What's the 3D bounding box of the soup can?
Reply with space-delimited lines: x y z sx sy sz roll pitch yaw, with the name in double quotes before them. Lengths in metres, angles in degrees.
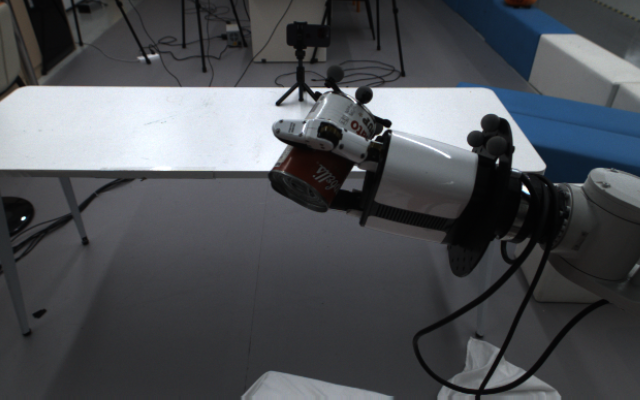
"soup can" 0.006 -0.047 0.478 0.067 0.067 0.101 22 71 27
